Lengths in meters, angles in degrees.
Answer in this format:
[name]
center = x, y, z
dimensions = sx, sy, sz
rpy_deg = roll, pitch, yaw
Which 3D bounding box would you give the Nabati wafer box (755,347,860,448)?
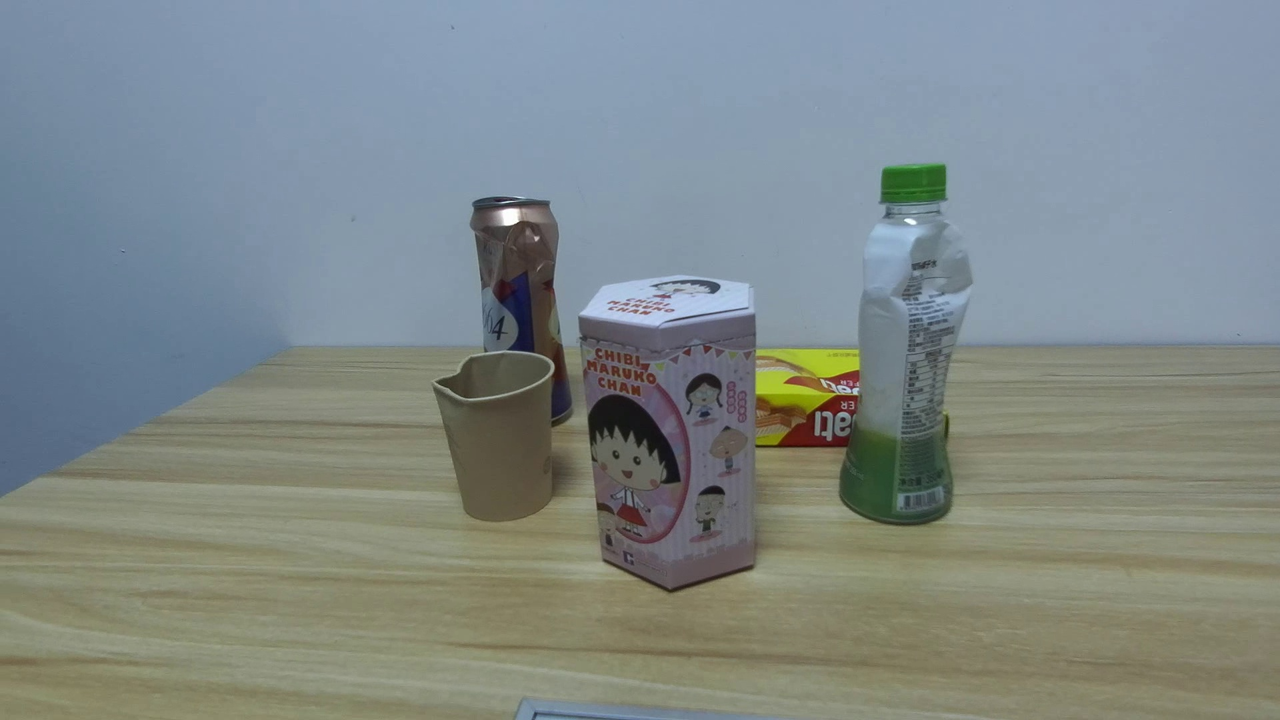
[Nabati wafer box]
center = 0.108, 0.025, 0.516
dimensions = 0.203, 0.042, 0.096
rpy_deg = 0, 18, 3

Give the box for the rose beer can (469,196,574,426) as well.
[rose beer can]
center = -0.088, -0.037, 0.528
dimensions = 0.065, 0.167, 0.075
rpy_deg = -4, 20, -11

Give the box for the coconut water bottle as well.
[coconut water bottle]
center = 0.143, -0.008, 0.381
dimensions = 0.067, 0.187, 0.067
rpy_deg = -3, 17, 1

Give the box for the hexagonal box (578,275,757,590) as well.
[hexagonal box]
center = 0.018, 0.034, 0.357
dimensions = 0.091, 0.136, 0.084
rpy_deg = 12, 25, 37

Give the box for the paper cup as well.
[paper cup]
center = -0.082, 0.046, 0.422
dimensions = 0.069, 0.081, 0.073
rpy_deg = -19, 24, -39
